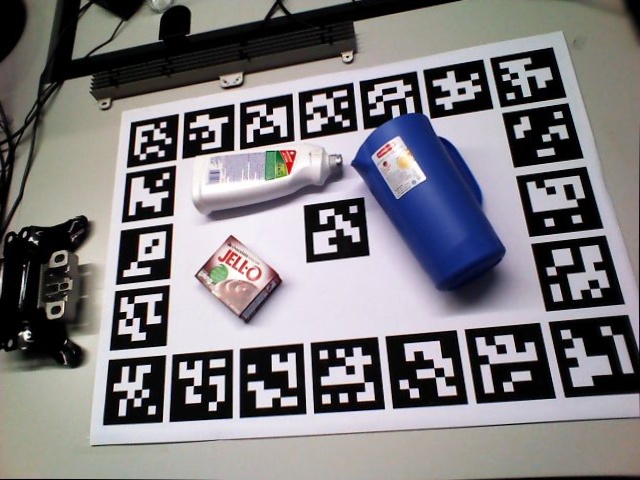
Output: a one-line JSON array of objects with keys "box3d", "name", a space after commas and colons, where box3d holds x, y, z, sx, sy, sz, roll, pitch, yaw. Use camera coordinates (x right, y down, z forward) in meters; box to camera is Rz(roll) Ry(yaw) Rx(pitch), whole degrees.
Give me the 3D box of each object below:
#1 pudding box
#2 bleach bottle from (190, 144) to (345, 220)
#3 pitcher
[{"box3d": [-0.132, 0.067, 0.810, 0.114, 0.039, 0.090, 39, 77, 21], "name": "pudding box"}, {"box3d": [-0.084, -0.105, 0.854, 0.252, 0.068, 0.102, -9, 73, 7], "name": "bleach bottle"}, {"box3d": [0.173, -0.042, 0.755, 0.188, 0.134, 0.242, -17, 68, -31], "name": "pitcher"}]
